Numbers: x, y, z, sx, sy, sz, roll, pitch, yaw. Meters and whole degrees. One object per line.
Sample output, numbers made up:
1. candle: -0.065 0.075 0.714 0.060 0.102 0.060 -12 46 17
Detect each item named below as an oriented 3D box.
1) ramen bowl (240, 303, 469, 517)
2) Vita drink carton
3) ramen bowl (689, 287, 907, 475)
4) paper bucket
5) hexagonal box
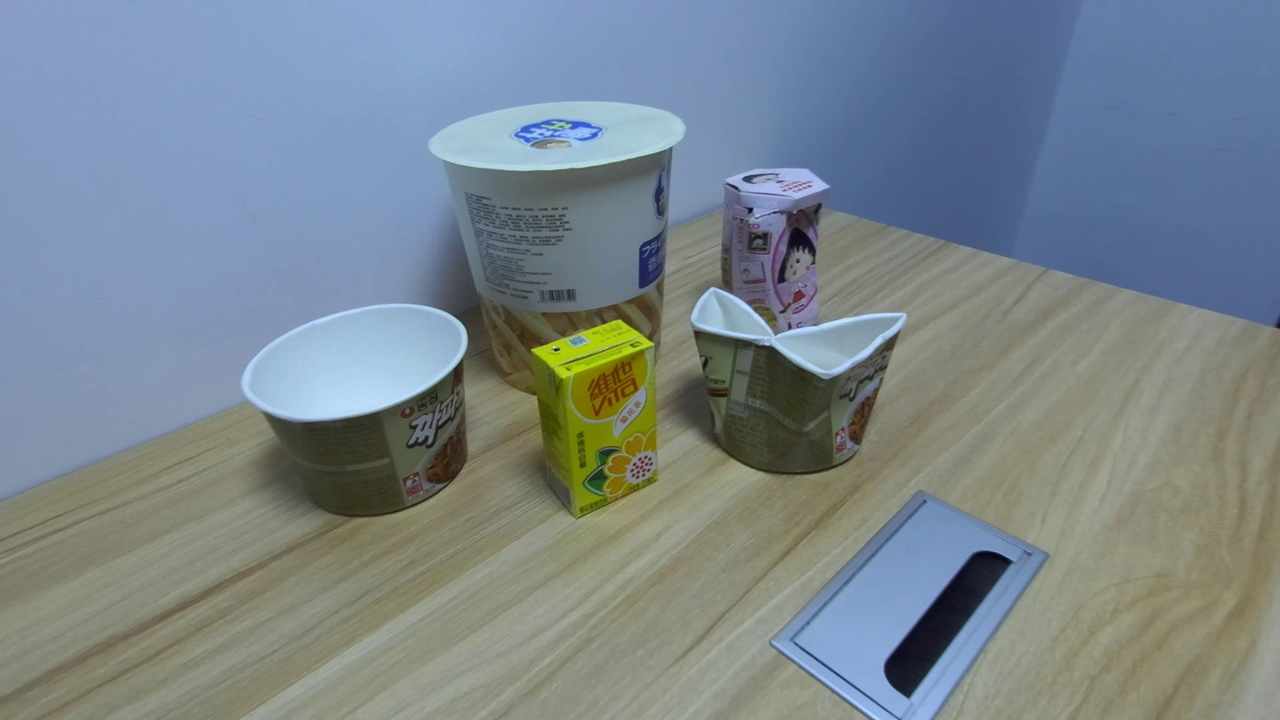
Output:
1. ramen bowl: -0.182 0.036 0.486 0.140 0.095 0.140 -1 32 1
2. Vita drink carton: -0.026 0.037 0.451 0.067 0.109 0.043 -20 36 -26
3. ramen bowl: 0.101 0.008 0.499 0.127 0.093 0.112 23 41 34
4. paper bucket: -0.056 -0.088 0.573 0.198 0.195 0.198 -2 32 1
5. hexagonal box: 0.114 -0.092 0.623 0.091 0.134 0.090 -3 29 1
